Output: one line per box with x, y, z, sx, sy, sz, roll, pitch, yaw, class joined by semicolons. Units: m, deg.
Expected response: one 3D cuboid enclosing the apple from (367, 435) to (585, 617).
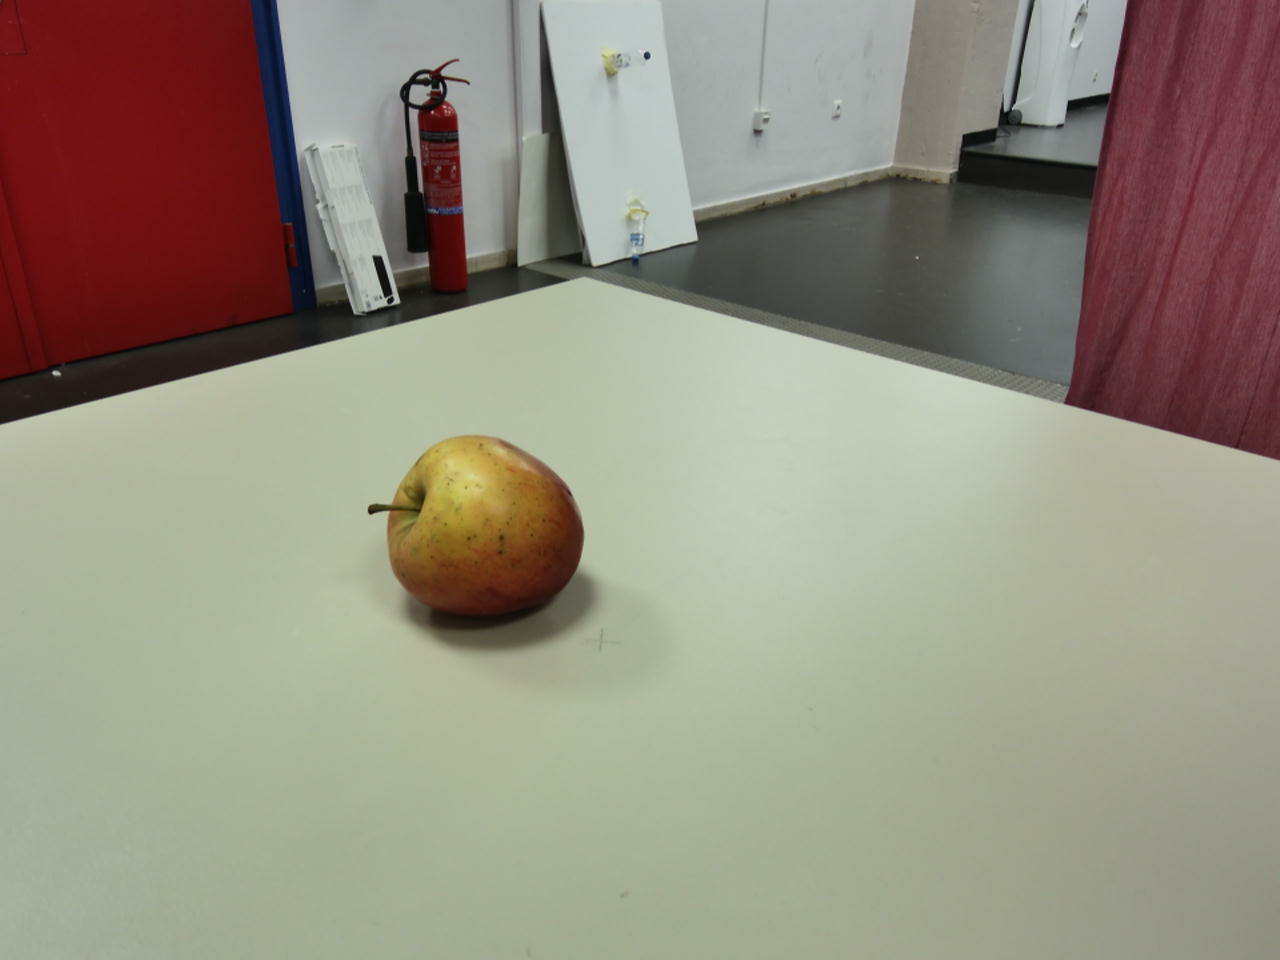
-0.074;0.022;0.470;0.093;0.084;0.086;4;24;4;apple
